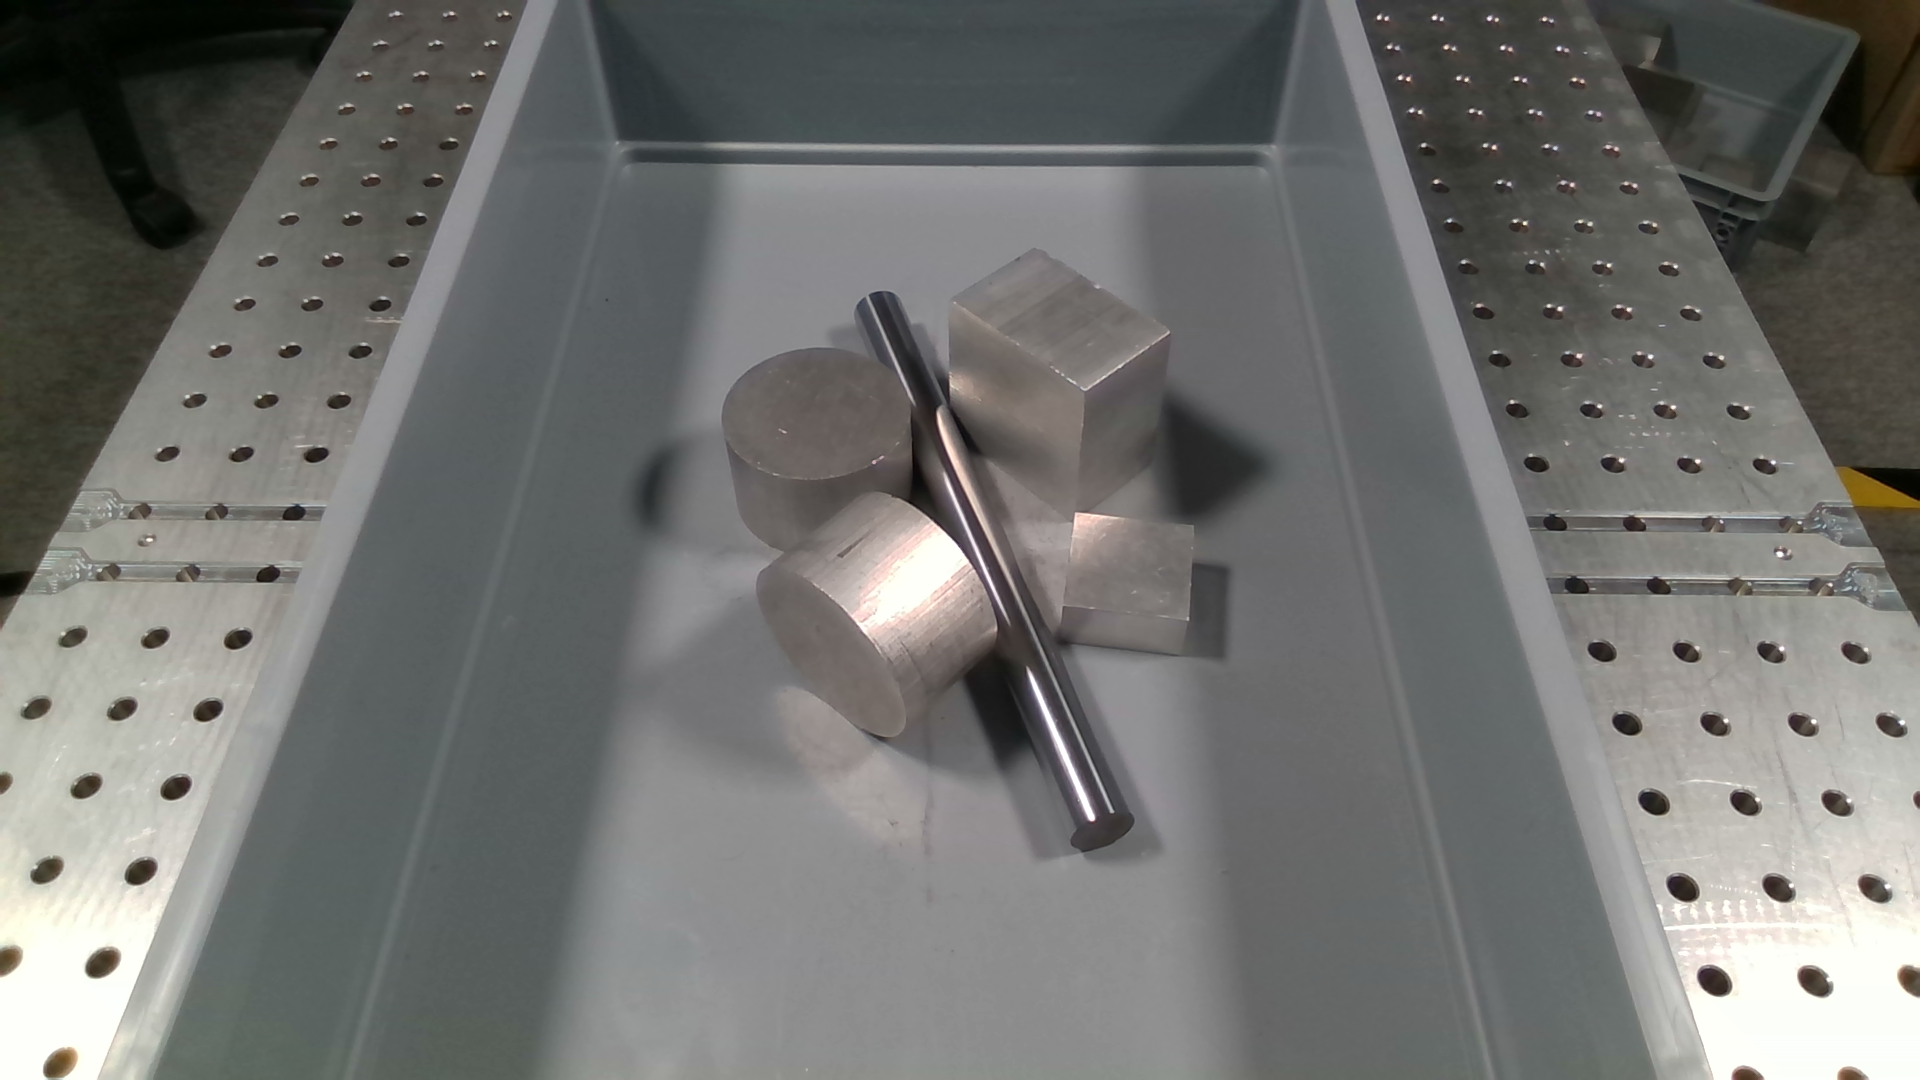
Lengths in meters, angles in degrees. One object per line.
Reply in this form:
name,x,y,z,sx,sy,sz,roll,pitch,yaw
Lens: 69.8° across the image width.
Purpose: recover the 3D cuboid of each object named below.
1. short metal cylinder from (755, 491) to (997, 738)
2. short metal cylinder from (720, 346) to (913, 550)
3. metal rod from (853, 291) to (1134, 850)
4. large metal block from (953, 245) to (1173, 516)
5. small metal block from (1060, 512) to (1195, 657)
short metal cylinder,-0.032,0.028,0.527,0.080,0.080,0.050,35,58,26
short metal cylinder,-0.061,-0.039,0.601,0.080,0.050,0.080,0,50,0
metal rod,0.005,-0.004,0.589,0.025,0.025,0.299,-14,52,-11
large metal block,0.043,-0.069,0.608,0.050,0.080,0.080,-36,59,-26
small metal block,0.069,0.018,0.571,0.050,0.025,0.050,7,50,5
